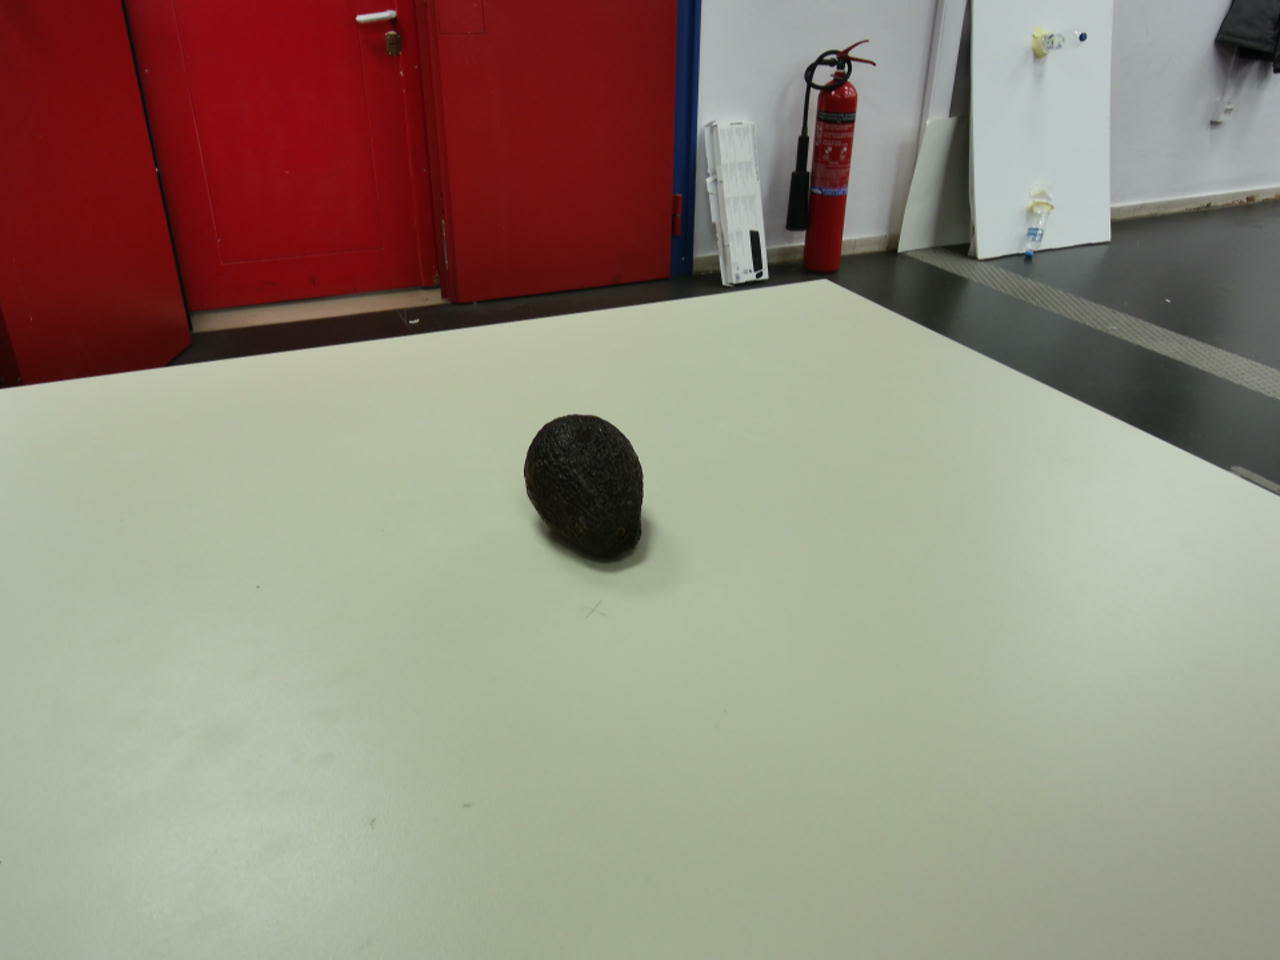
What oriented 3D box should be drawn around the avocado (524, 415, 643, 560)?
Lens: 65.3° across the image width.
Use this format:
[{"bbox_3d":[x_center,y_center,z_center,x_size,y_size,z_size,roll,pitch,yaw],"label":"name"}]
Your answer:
[{"bbox_3d":[-0.033,0.001,0.576,0.070,0.069,0.090,2,26,0],"label":"avocado"}]
